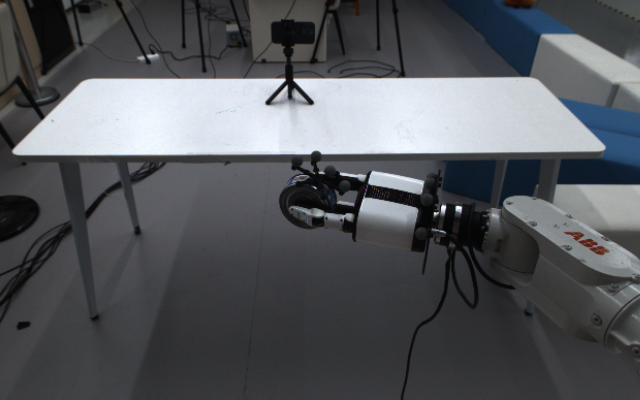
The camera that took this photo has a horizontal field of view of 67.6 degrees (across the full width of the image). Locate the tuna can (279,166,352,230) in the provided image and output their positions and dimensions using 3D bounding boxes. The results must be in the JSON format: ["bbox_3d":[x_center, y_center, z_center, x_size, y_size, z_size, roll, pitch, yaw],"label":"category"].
[{"bbox_3d":[-0.018,0.002,0.749,0.085,0.085,0.034,12,35,14],"label":"tuna can"}]
